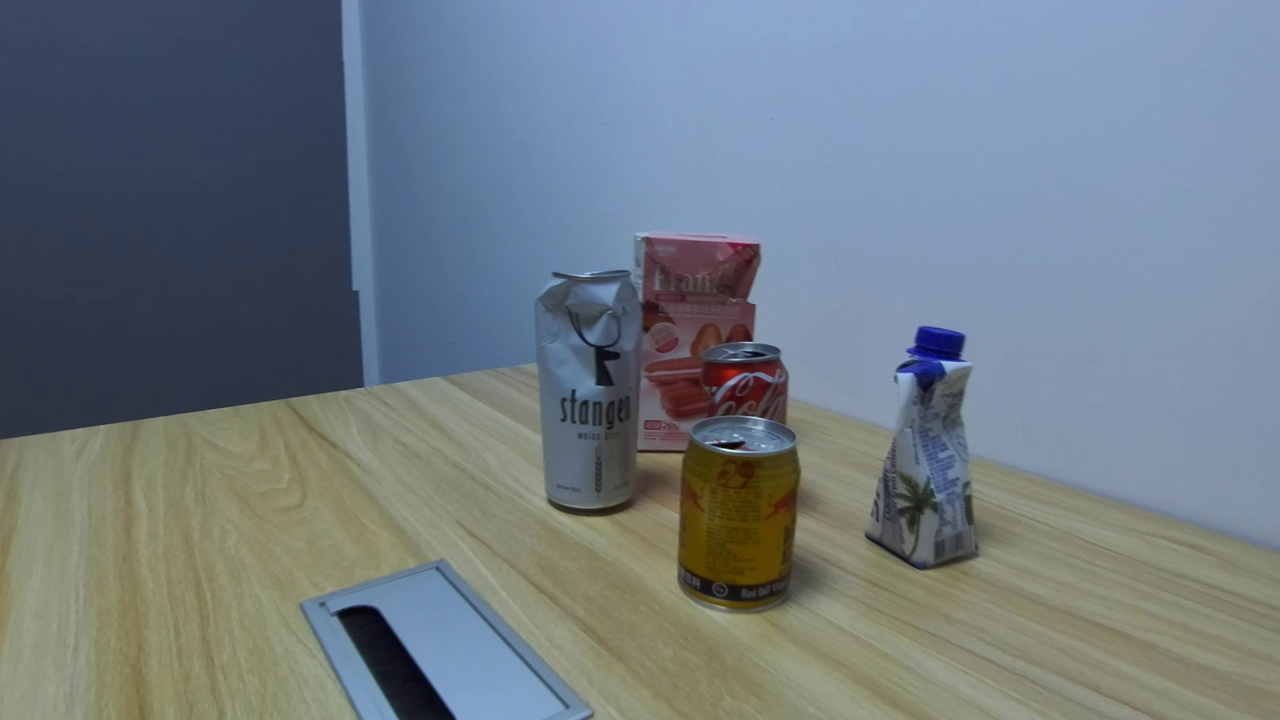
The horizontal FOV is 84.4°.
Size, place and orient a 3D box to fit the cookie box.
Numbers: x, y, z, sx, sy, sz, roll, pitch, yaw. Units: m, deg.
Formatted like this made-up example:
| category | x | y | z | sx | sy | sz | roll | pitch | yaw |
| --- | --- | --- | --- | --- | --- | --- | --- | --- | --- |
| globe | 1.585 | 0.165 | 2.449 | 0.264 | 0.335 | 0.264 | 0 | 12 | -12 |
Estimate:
| category | x | y | z | sx | sy | sz | roll | pitch | yaw |
| --- | --- | --- | --- | --- | --- | --- | --- | --- | --- |
| cookie box | 0.045 | -0.013 | 0.606 | 0.105 | 0.186 | 0.059 | 4 | 14 | 0 |

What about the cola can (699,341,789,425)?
| category | x | y | z | sx | sy | sz | roll | pitch | yaw |
| --- | --- | --- | --- | --- | --- | --- | --- | --- | --- |
| cola can | 0.073 | 0.049 | 0.496 | 0.065 | 0.117 | 0.072 | 4 | 14 | 12 |

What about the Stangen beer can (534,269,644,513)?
| category | x | y | z | sx | sy | sz | roll | pitch | yaw |
| --- | --- | --- | --- | --- | --- | --- | --- | --- | --- |
| Stangen beer can | -0.034 | 0.022 | 0.500 | 0.065 | 0.166 | 0.066 | 6 | 13 | 24 |

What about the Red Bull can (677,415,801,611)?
| category | x | y | z | sx | sy | sz | roll | pitch | yaw |
| --- | --- | --- | --- | --- | --- | --- | --- | --- | --- |
| Red Bull can | 0.055 | 0.083 | 0.398 | 0.067 | 0.093 | 0.067 | 1 | 16 | 0 |

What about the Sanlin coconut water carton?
| category | x | y | z | sx | sy | sz | roll | pitch | yaw |
| --- | --- | --- | --- | --- | --- | --- | --- | --- | --- |
| Sanlin coconut water carton | 0.172 | 0.053 | 0.445 | 0.069 | 0.144 | 0.056 | -12 | 11 | -25 |
